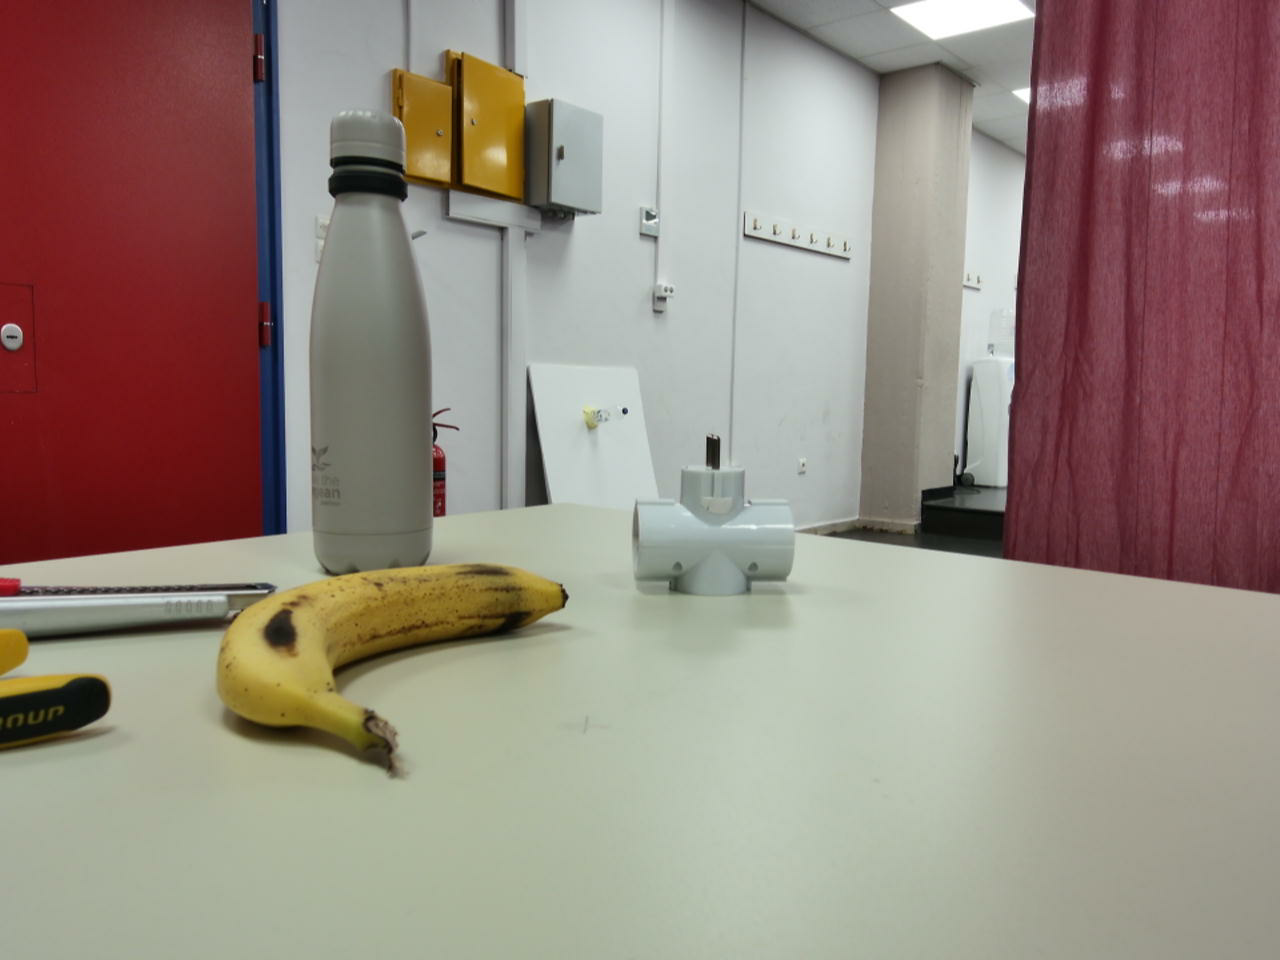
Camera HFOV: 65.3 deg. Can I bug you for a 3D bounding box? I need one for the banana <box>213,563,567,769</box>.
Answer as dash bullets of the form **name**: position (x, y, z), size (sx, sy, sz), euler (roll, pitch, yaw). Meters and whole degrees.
- **banana**: position (-0.103, 0.061, 0.405), size (0.097, 0.038, 0.186), euler (1, 4, 12)
